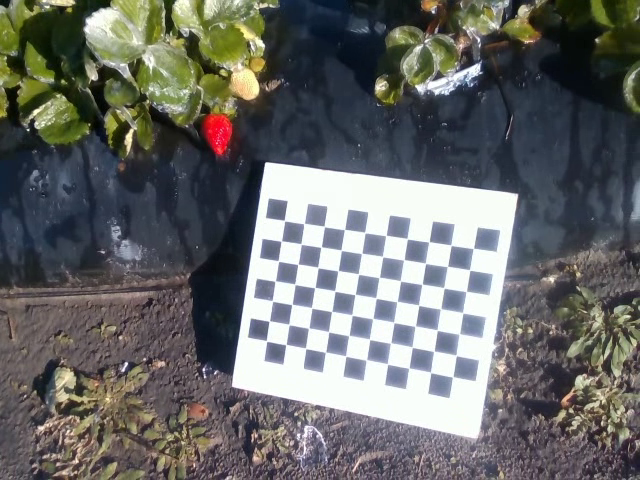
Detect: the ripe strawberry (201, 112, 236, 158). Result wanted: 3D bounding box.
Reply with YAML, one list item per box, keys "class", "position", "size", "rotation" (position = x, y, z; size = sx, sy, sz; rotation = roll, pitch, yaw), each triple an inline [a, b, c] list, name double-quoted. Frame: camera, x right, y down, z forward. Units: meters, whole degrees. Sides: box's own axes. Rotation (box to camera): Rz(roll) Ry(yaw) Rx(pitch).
- class: "ripe strawberry"
  position: [-0.125, -0.128, 0.724]
  size: [0.042, 0.052, 0.040]
  rotation: [-9, -11, 9]
